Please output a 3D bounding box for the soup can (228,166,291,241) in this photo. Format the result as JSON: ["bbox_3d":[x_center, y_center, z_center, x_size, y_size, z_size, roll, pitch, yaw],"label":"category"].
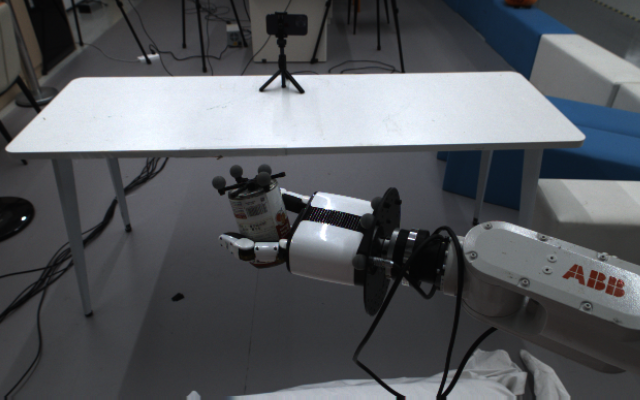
[{"bbox_3d":[-0.073,0.029,0.632,0.067,0.101,0.067,-13,20,5],"label":"soup can"}]
